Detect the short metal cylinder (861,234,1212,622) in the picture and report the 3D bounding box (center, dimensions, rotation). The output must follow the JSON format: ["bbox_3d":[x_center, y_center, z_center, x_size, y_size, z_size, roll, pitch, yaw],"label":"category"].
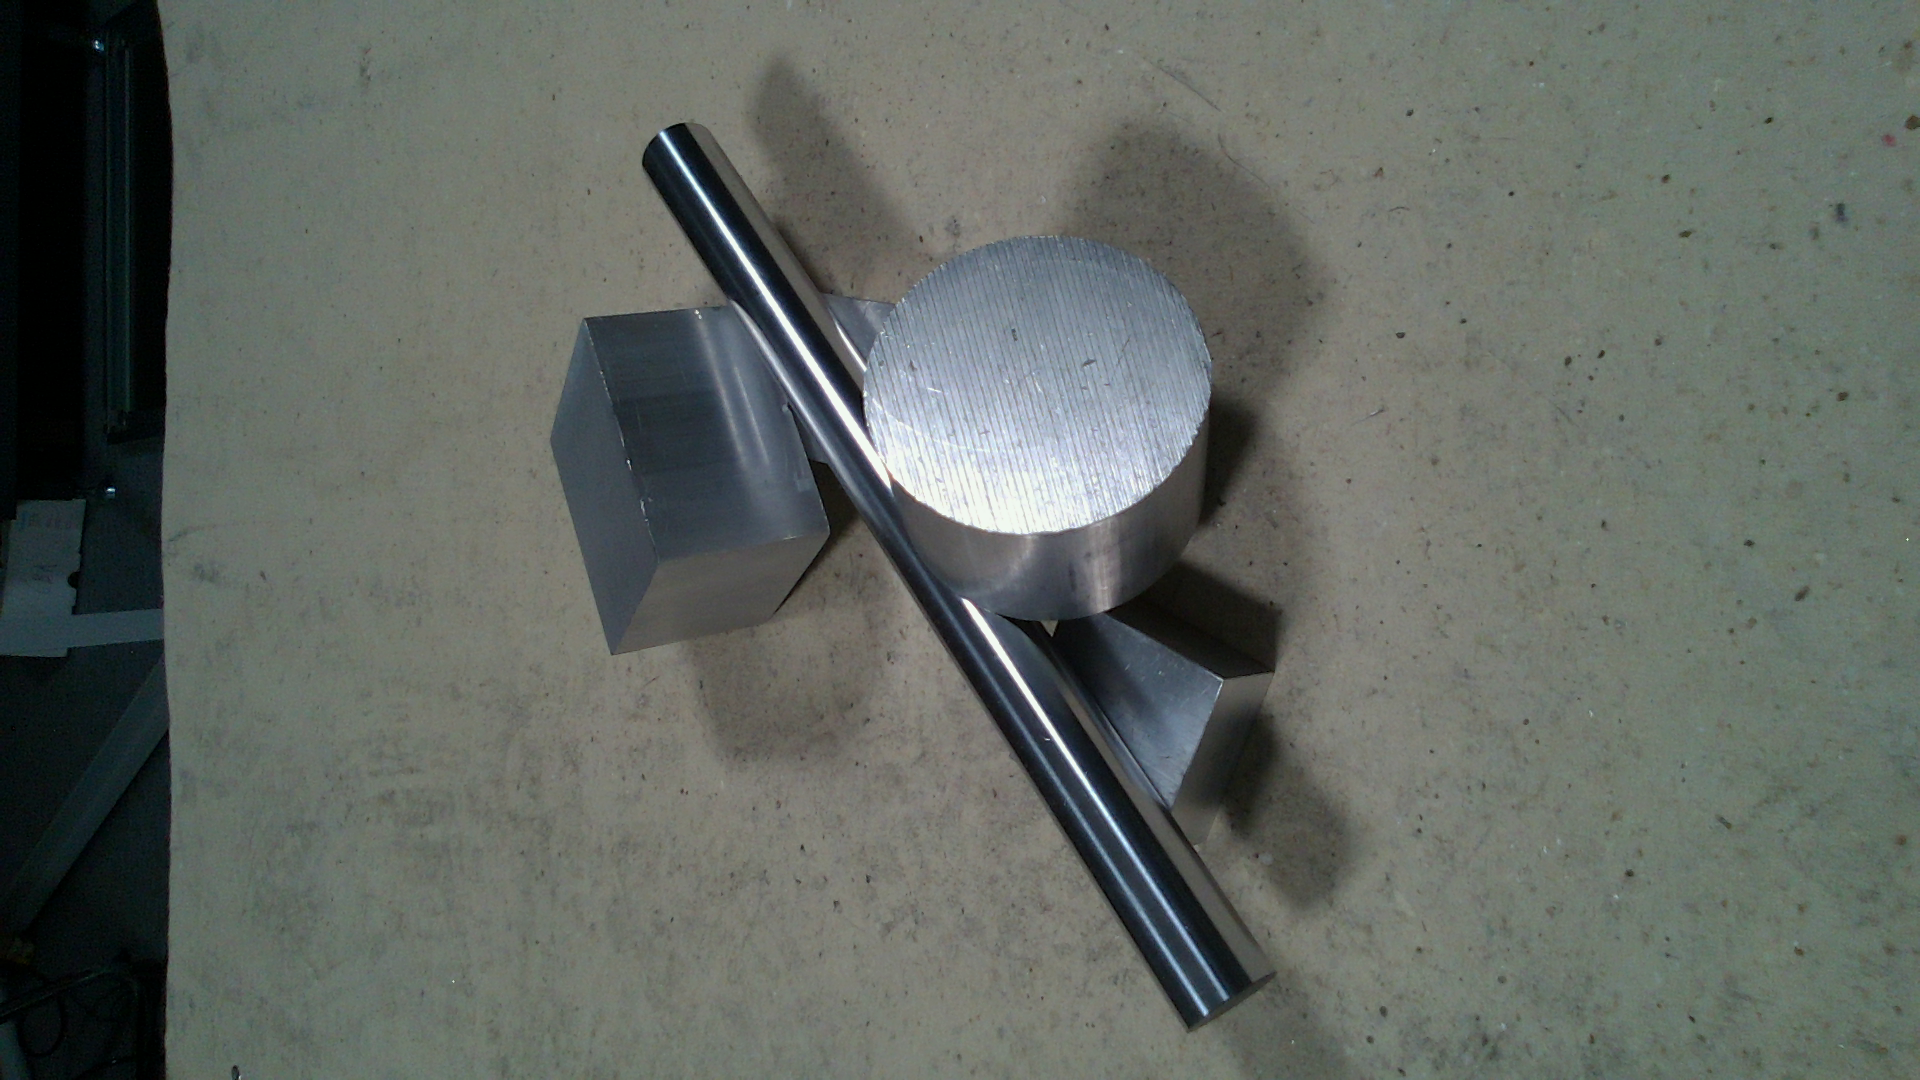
[{"bbox_3d":[0.020,-0.027,0.336,0.080,0.050,0.080,-3,64,6],"label":"short metal cylinder"}]

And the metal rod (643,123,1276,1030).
[{"bbox_3d":[-0.014,-0.009,0.374,0.025,0.025,0.300,-49,61,29],"label":"metal rod"}]

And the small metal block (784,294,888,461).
[{"bbox_3d":[-0.026,-0.047,0.418,0.050,0.025,0.050,16,100,39],"label":"small metal block"}]

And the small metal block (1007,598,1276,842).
[{"bbox_3d":[0.046,0.046,0.357,0.050,0.025,0.050,31,109,36],"label":"small metal block"}]

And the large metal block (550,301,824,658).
[{"bbox_3d":[-0.090,-0.018,0.433,0.080,0.050,0.080,-46,60,57],"label":"large metal block"}]
